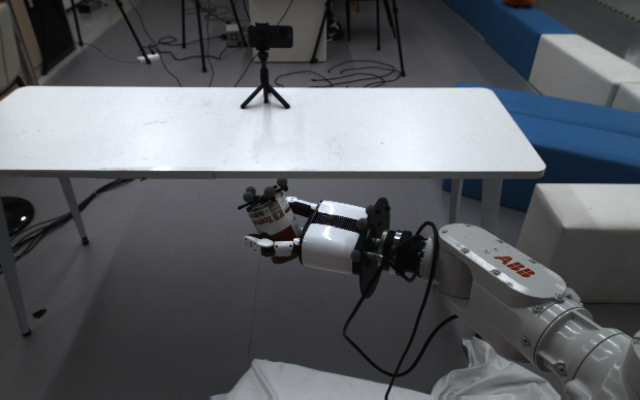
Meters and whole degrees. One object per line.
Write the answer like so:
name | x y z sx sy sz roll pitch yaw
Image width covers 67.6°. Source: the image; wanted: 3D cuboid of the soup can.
soup can | -0.068 0.045 0.793 0.067 0.101 0.067 -24 16 7
